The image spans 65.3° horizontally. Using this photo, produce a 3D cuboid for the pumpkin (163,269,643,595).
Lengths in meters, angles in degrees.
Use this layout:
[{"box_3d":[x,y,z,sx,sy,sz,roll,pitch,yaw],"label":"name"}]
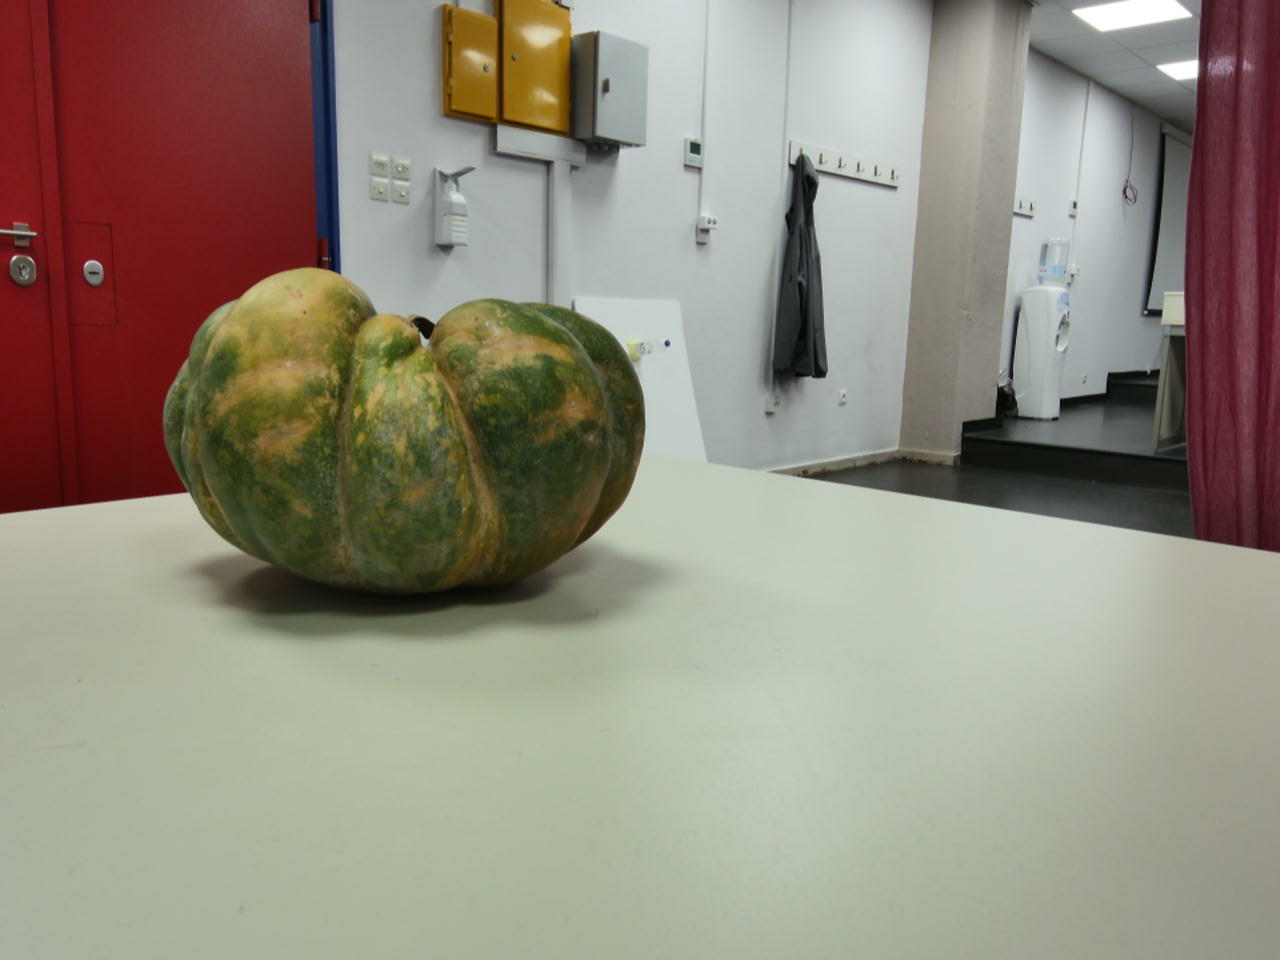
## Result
[{"box_3d":[-0.134,-0.028,0.570,0.270,0.173,0.237,-2,8,-11],"label":"pumpkin"}]
